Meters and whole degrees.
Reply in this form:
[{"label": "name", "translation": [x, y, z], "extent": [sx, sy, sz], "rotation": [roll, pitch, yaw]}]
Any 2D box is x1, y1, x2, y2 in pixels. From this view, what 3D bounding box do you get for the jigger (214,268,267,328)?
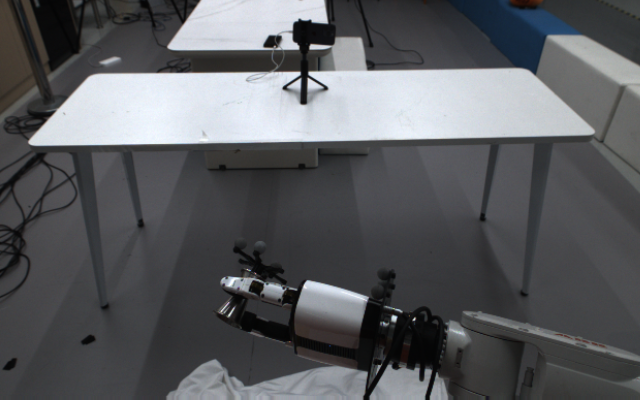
[{"label": "jigger", "translation": [-0.106, 0.126, 0.639], "extent": [0.043, 0.043, 0.071], "rotation": [19, 62, 23]}]
